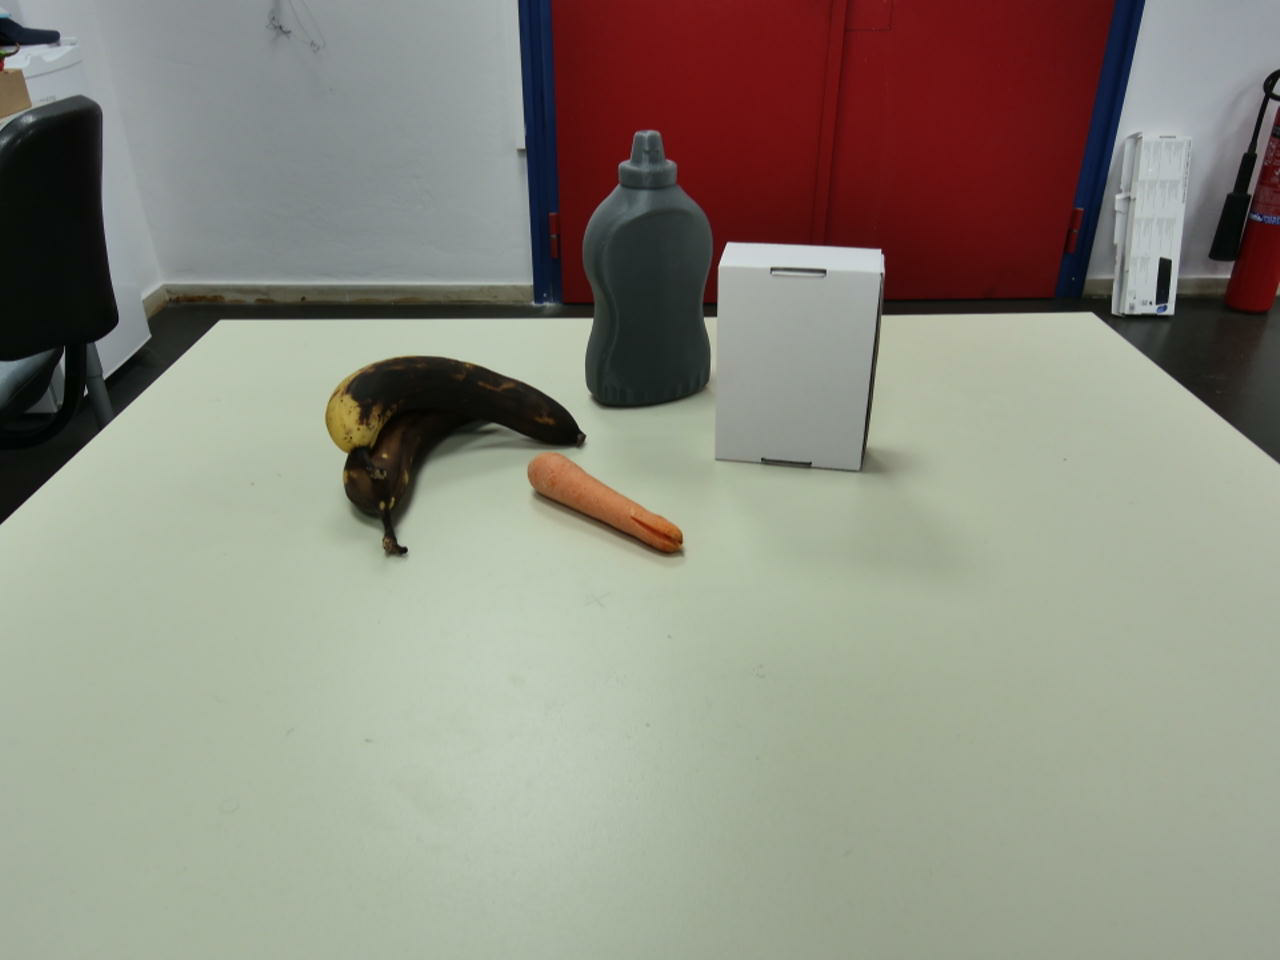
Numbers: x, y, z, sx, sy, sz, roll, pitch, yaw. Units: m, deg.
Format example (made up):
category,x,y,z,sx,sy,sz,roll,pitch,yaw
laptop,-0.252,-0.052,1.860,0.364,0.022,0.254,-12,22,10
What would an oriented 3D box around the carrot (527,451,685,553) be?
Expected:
category,x,y,z,sx,sy,sz,roll,pitch,yaw
carrot,-0.025,0.012,0.642,0.136,0.032,0.030,24,35,39
